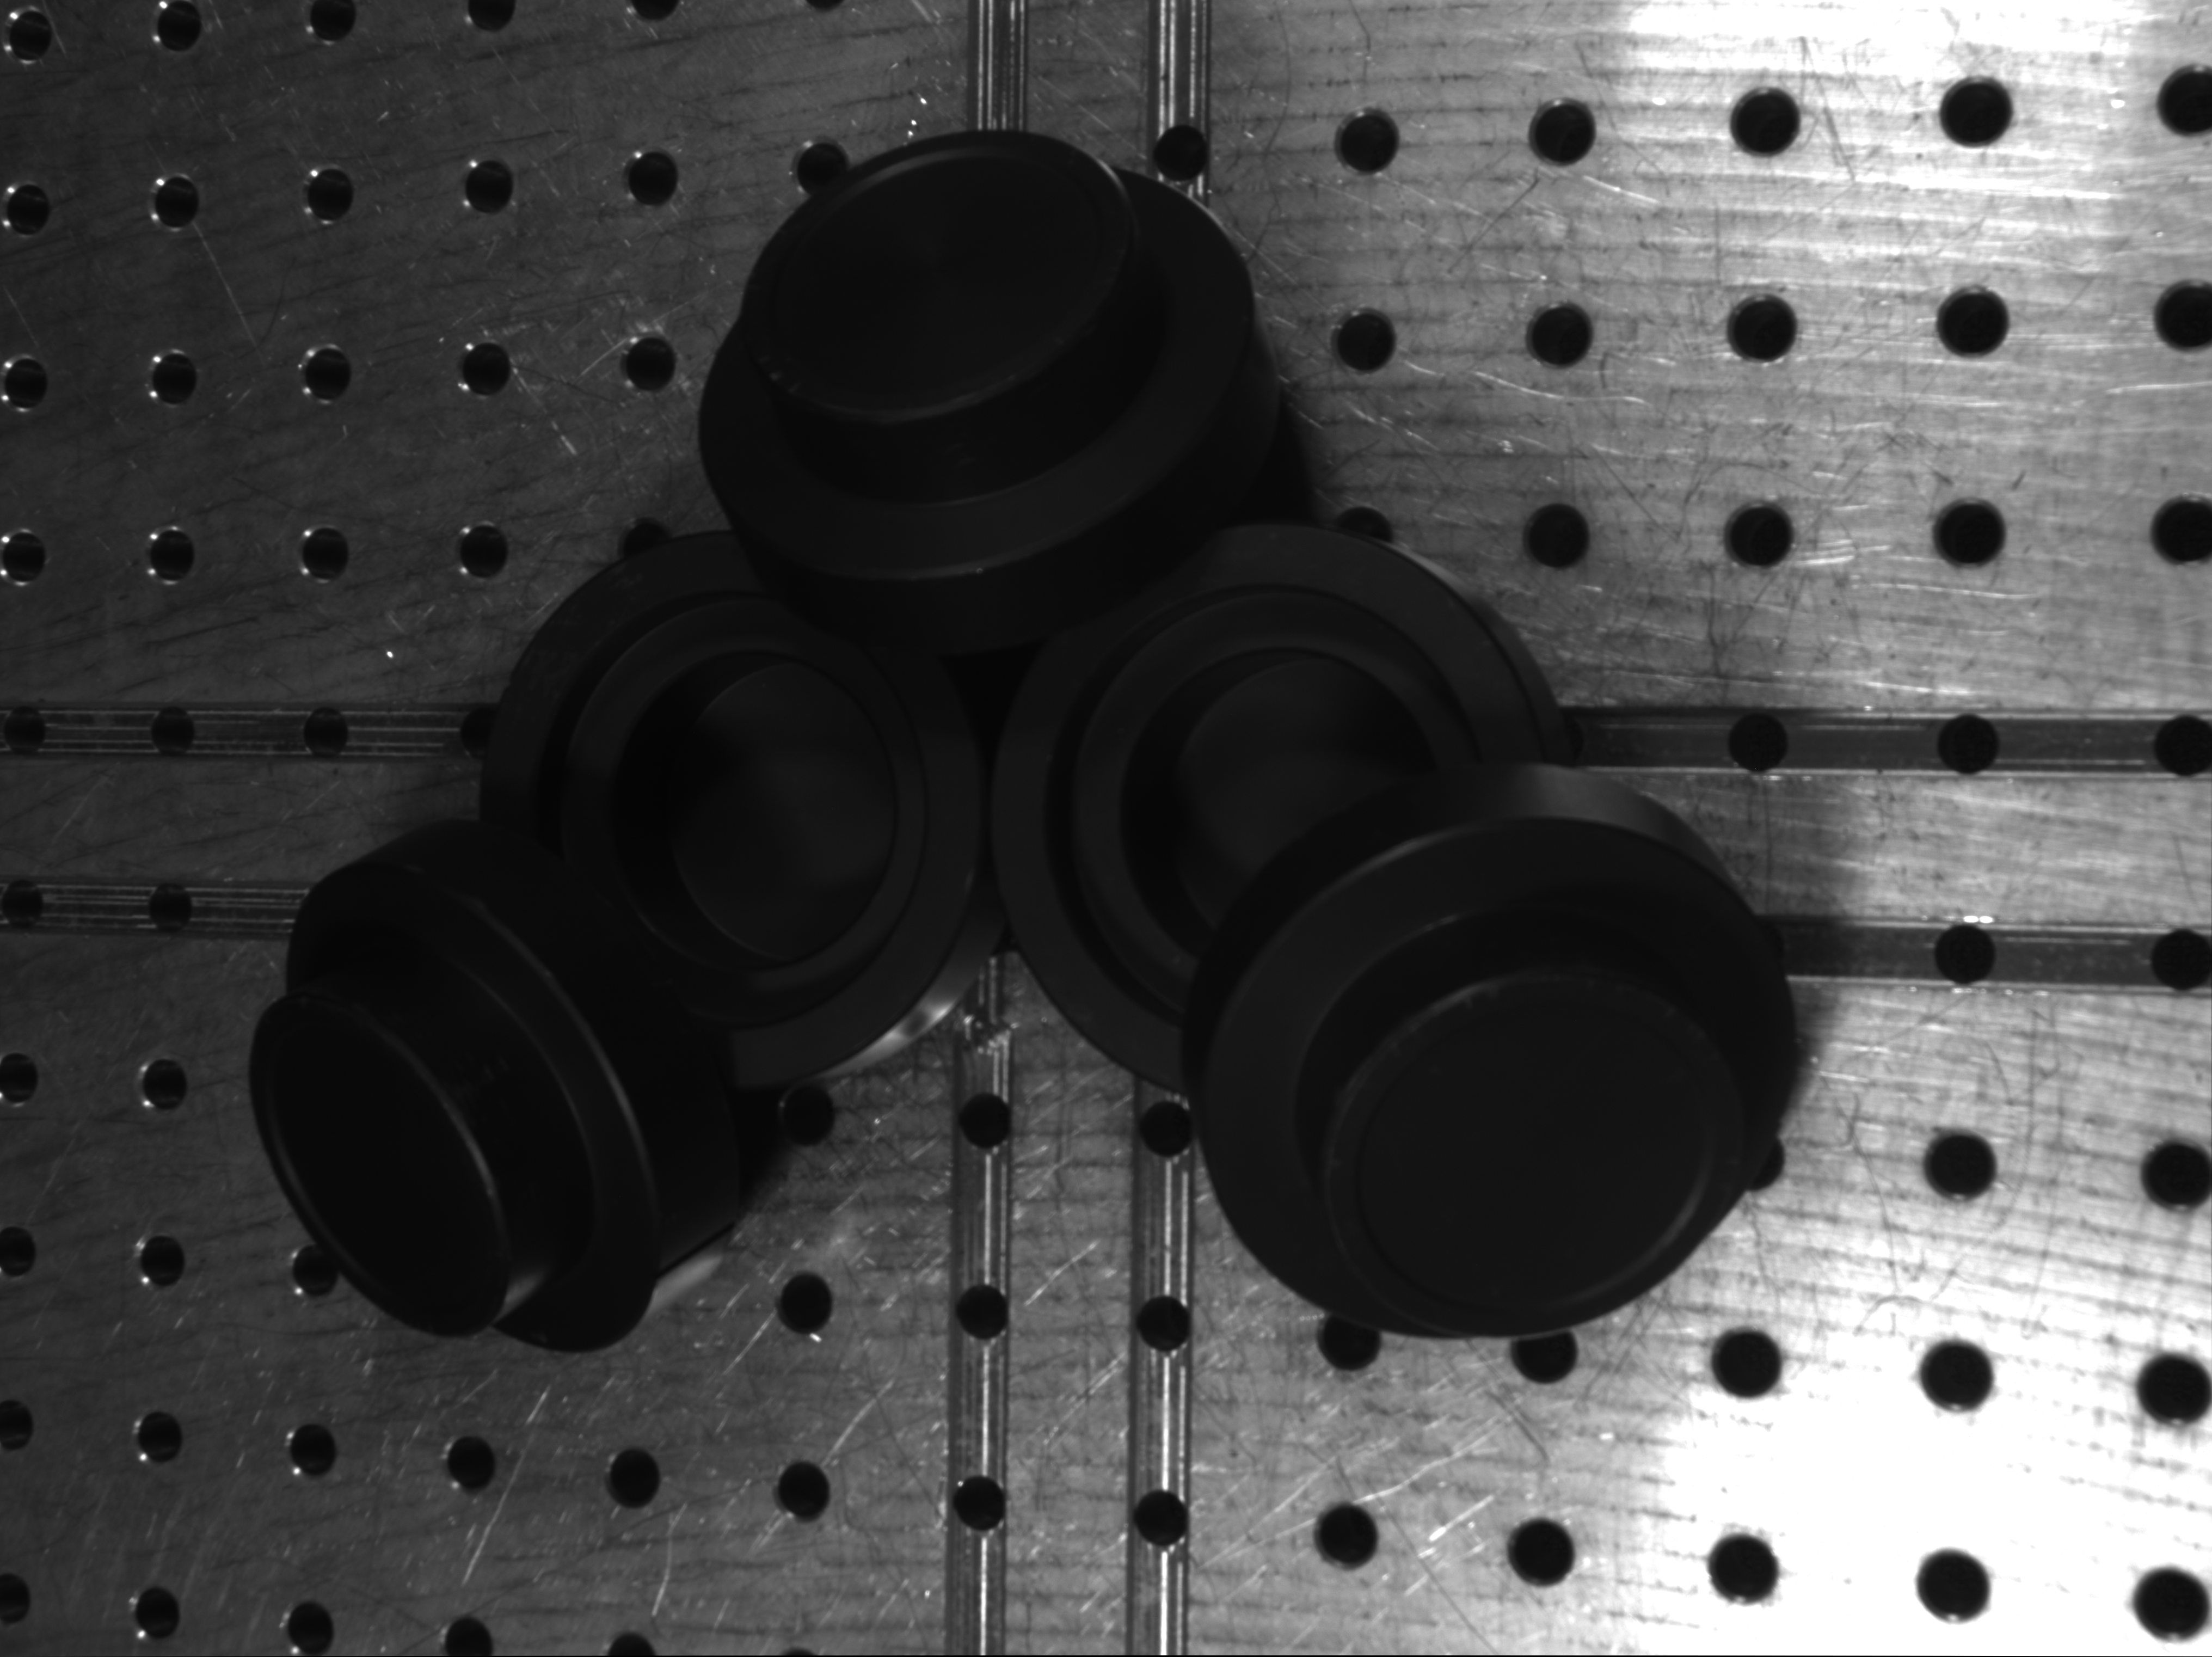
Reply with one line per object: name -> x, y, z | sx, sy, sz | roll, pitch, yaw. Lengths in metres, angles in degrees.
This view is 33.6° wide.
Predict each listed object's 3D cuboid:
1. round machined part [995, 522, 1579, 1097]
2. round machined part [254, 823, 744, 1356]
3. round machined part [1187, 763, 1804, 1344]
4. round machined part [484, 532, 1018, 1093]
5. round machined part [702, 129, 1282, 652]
round machined part -> 0.034, -0.002, 0.626 | 0.098, 0.042, 0.098 | 0, 90, 20
round machined part -> -0.114, 0.052, 0.654 | 0.098, 0.042, 0.098 | 24, 130, 33
round machined part -> 0.064, 0.042, 0.586 | 0.098, 0.042, 0.098 | -3, 117, -7
round machined part -> -0.059, -0.003, 0.658 | 0.098, 0.042, 0.098 | 0, 90, 20
round machined part -> -0.023, -0.080, 0.619 | 0.098, 0.042, 0.098 | -10, 49, 12
